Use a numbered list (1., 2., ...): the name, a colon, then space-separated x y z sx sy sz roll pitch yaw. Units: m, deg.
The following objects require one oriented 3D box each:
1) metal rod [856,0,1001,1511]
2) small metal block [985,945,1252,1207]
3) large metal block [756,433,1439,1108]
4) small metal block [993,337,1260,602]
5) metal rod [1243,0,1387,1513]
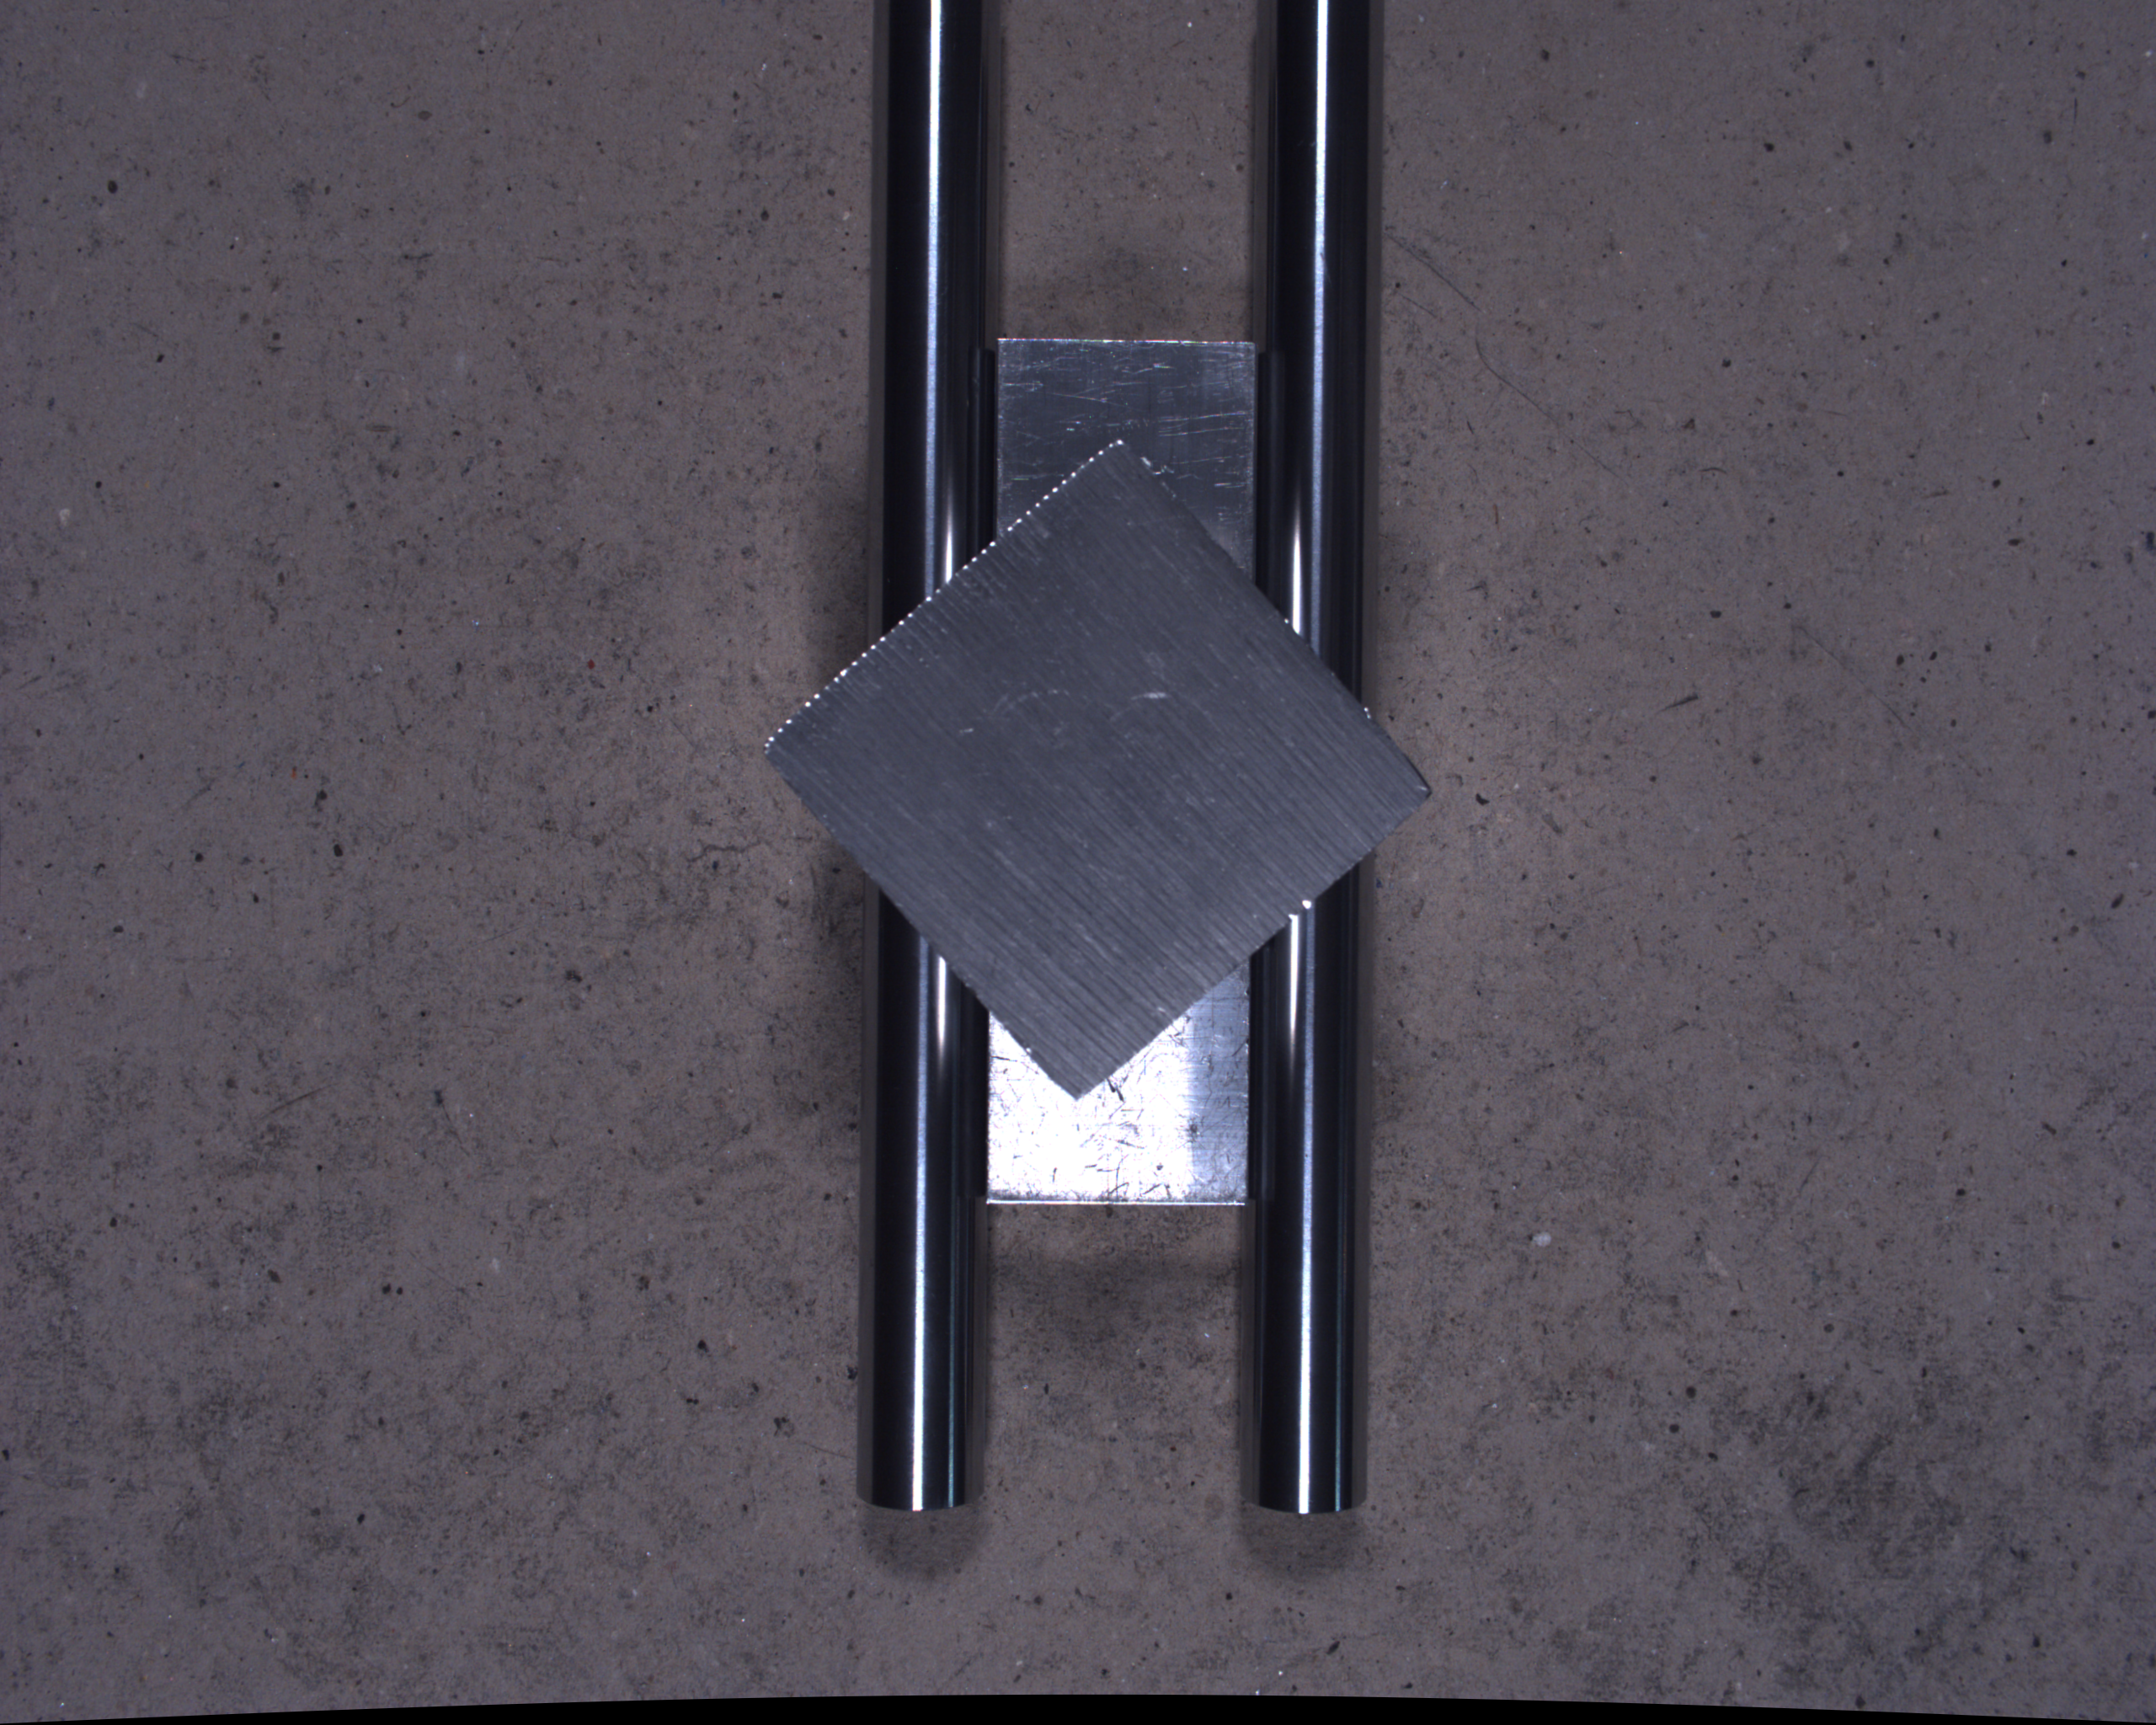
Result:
1. metal rod: -0.029 -0.025 0.411 0.025 0.025 0.298 1 90 -1
2. small metal block: 0.008 0.041 0.410 0.050 0.025 0.050 1 90 -1
3. large metal block: 0.003 -0.015 0.372 0.080 0.050 0.080 -41 91 0
4. small metal block: 0.009 -0.075 0.410 0.050 0.025 0.050 1 90 -1
5. metal rod: 0.047 -0.024 0.412 0.025 0.025 0.298 1 90 -1
